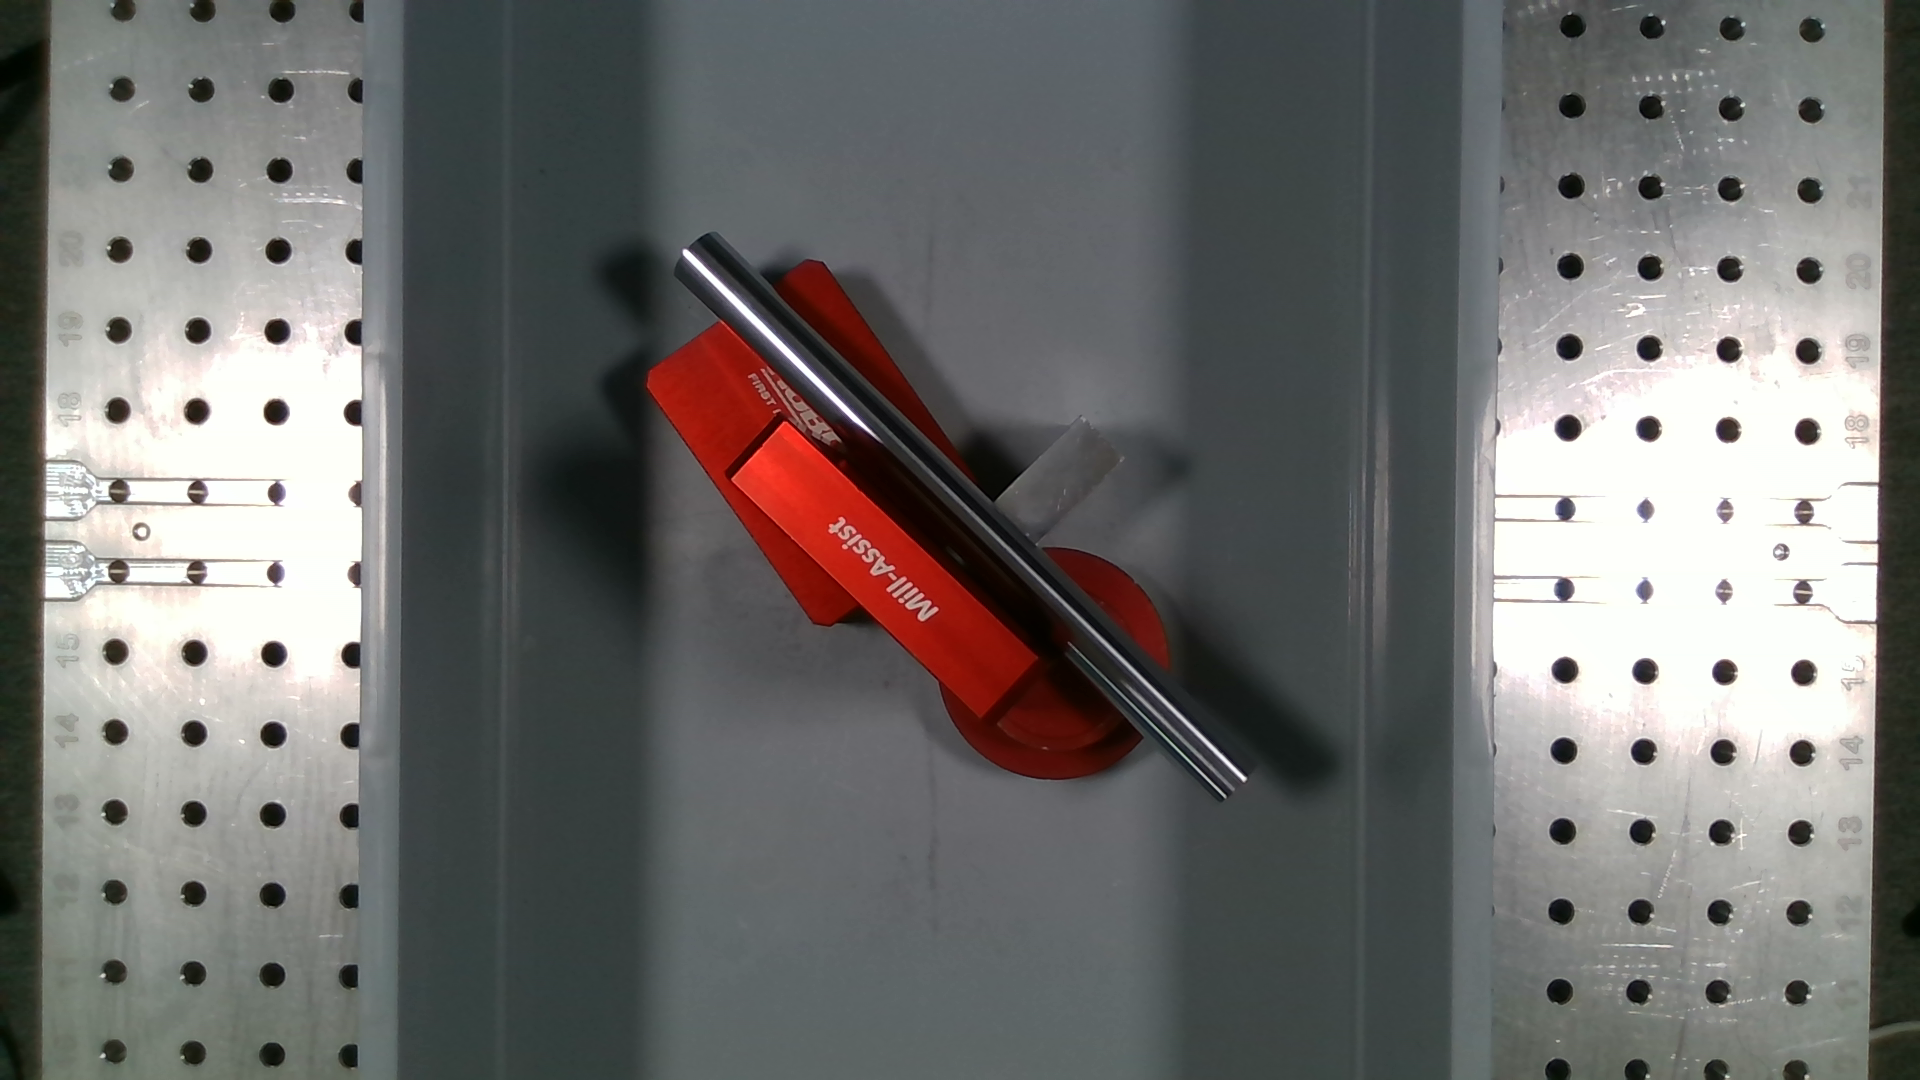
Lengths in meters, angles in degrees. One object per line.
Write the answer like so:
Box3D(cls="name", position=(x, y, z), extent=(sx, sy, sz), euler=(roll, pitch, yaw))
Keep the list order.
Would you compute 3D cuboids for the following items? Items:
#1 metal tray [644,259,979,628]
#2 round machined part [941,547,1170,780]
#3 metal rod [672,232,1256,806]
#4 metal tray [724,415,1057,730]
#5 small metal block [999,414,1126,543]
Box3D(cls="metal tray", position=(-0.059, -0.040, 0.583), extent=(0.090, 0.030, 0.130), euler=(-35, 90, 0))
Box3D(cls="round machined part", position=(0.039, 0.052, 0.578), extent=(0.098, 0.042, 0.098), euler=(0, 90, 0))
Box3D(cls="metal rod", position=(0.000, -0.010, 0.547), extent=(0.300, 0.025, 0.025), euler=(44, 90, 4))
Box3D(cls="metal tray", position=(-0.022, 0.012, 0.516), extent=(0.130, 0.090, 0.030), euler=(43, 93, 6))
Box3D(cls="small metal block", position=(0.040, -0.024, 0.573), extent=(0.050, 0.050, 0.025), euler=(-45, 90, 0))
